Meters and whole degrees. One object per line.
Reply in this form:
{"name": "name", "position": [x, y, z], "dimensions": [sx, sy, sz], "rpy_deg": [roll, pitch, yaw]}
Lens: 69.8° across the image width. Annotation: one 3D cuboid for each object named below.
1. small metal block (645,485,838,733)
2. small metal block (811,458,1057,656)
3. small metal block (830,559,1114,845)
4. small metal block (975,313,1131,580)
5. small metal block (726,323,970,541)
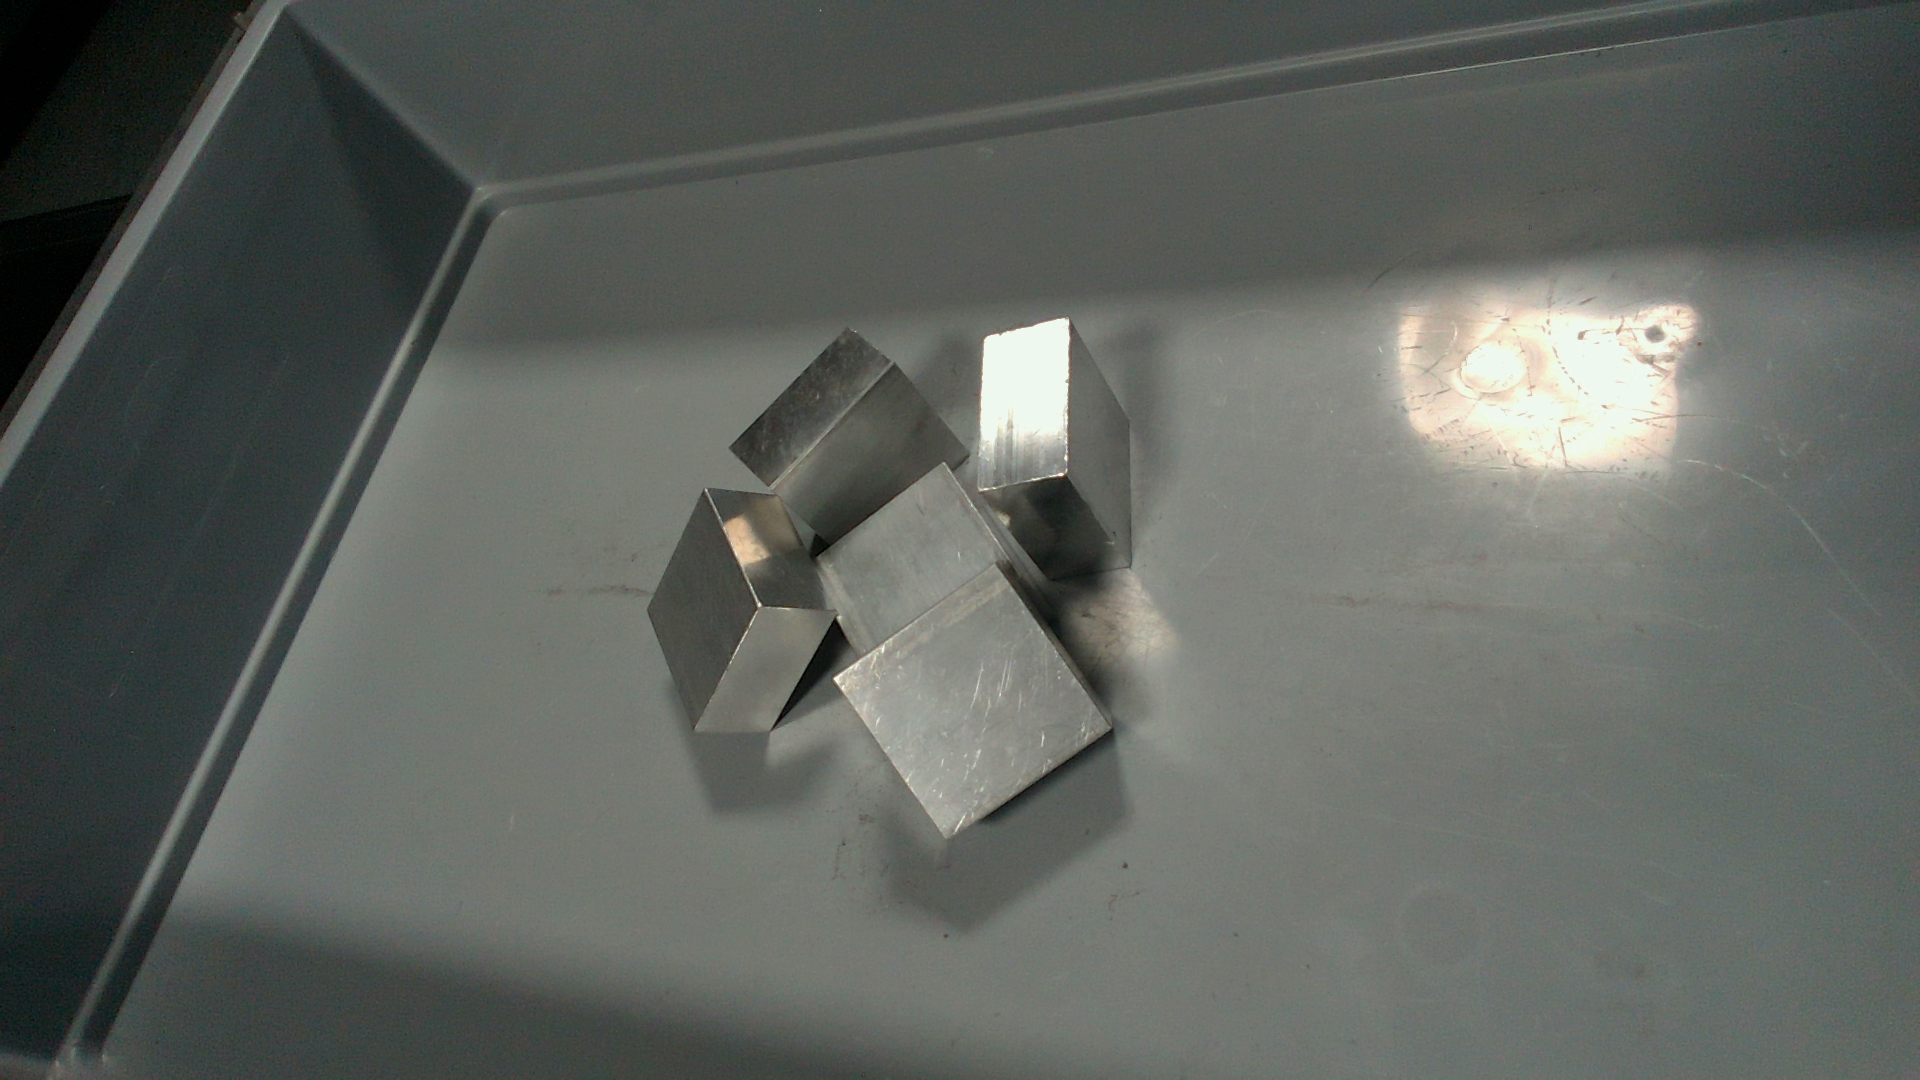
{"name": "small metal block", "position": [-0.065, 0.021, 0.400], "dimensions": [0.050, 0.025, 0.050], "rpy_deg": [-59, 44, 30]}
{"name": "small metal block", "position": [-0.009, 0.014, 0.388], "dimensions": [0.050, 0.025, 0.050], "rpy_deg": [-36, 51, 4]}
{"name": "small metal block", "position": [0.004, 0.040, 0.349], "dimensions": [0.050, 0.025, 0.050], "rpy_deg": [-35, 88, 4]}
{"name": "small metal block", "position": [0.027, -0.024, 0.376], "dimensions": [0.025, 0.050, 0.050], "rpy_deg": [-10, 57, 22]}
{"name": "small metal block", "position": [-0.032, -0.027, 0.409], "dimensions": [0.050, 0.050, 0.025], "rpy_deg": [-45, 50, -3]}
